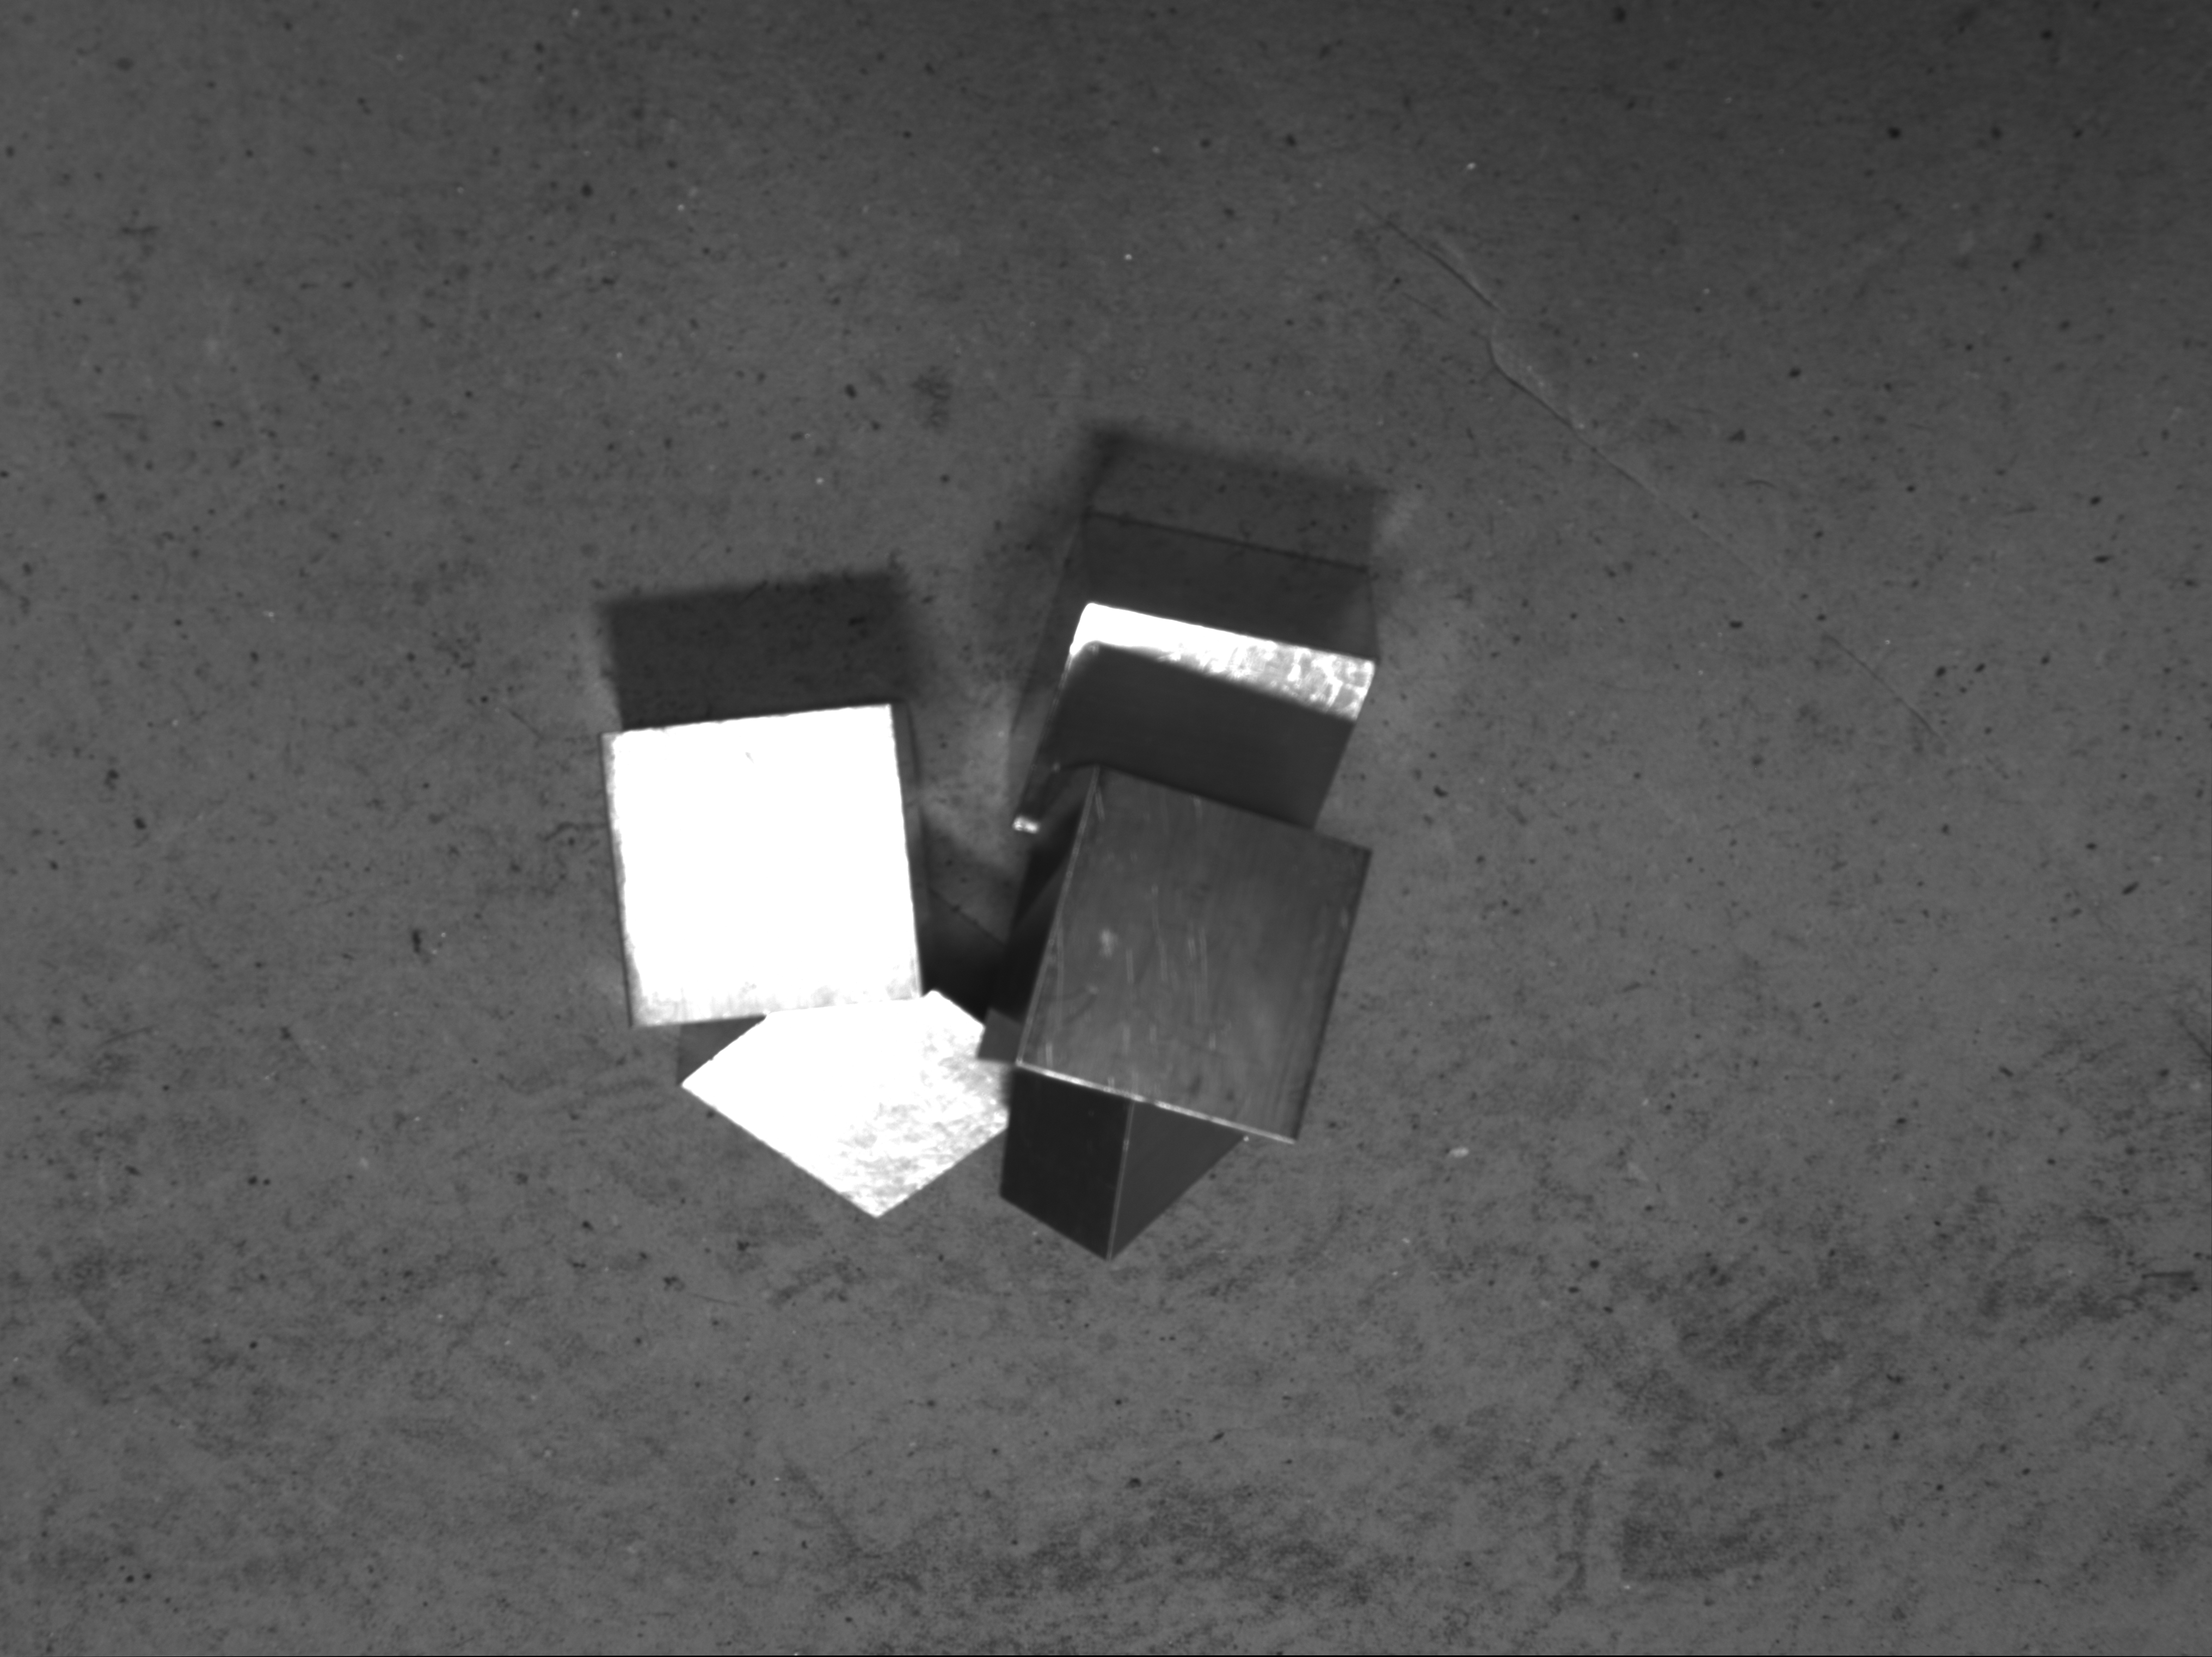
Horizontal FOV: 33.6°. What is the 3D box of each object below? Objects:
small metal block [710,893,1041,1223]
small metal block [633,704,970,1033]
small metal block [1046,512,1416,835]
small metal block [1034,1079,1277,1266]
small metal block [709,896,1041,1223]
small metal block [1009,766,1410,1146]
[{"bbox_3d":[-0.036,0.038,0.670,0.050,0.025,0.050,-37,122,25],"label":"small metal block"},{"bbox_3d":[-0.051,0.006,0.626,0.050,0.025,0.050,-6,92,3],"label":"small metal block"},{"bbox_3d":[0.020,-0.022,0.621,0.050,0.025,0.050,11,129,-11],"label":"small metal block"},{"bbox_3d":[0.014,0.041,0.654,0.025,0.050,0.050,29,134,25],"label":"small metal block"},{"bbox_3d":[-0.036,0.038,0.670,0.050,0.025,0.050,-37,122,25],"label":"small metal block"},{"bbox_3d":[0.017,0.021,0.607,0.050,0.025,0.050,17,84,-15],"label":"small metal block"}]
